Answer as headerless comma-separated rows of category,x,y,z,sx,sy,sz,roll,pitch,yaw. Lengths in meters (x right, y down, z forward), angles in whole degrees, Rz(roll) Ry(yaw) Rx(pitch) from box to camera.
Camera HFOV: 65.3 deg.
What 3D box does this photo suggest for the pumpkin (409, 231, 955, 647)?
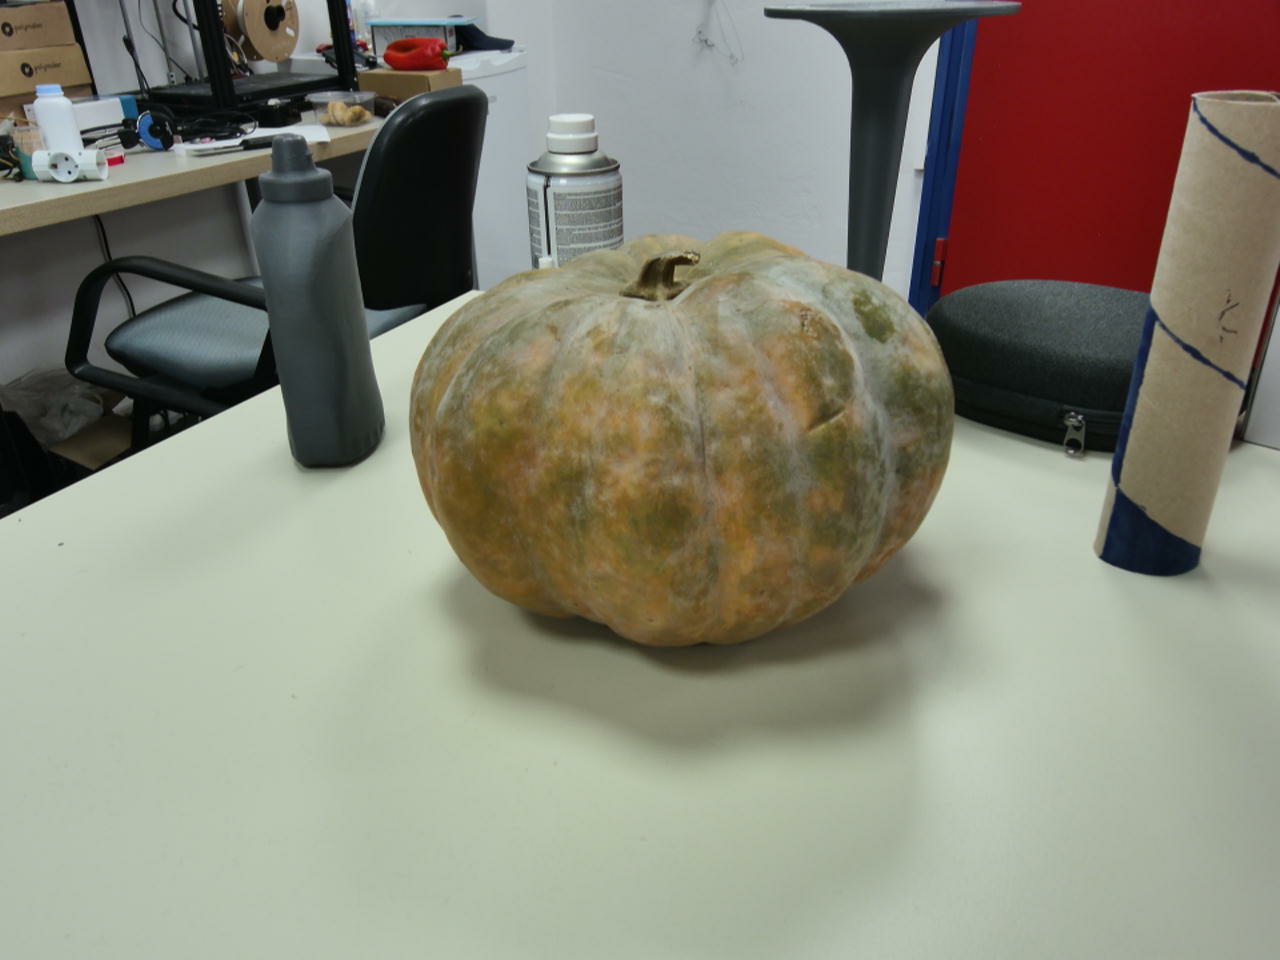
pumpkin,0.014,-0.028,0.474,0.252,0.169,0.251,0,25,0
